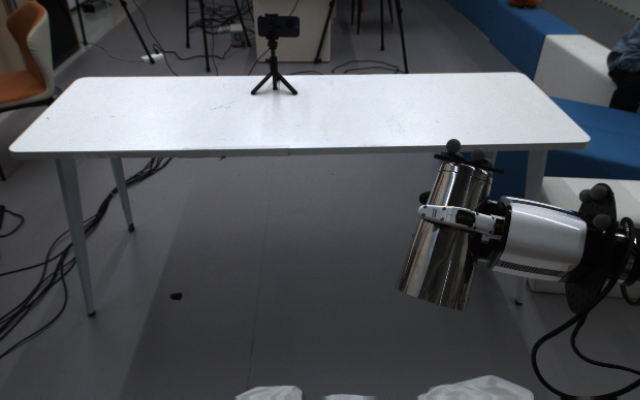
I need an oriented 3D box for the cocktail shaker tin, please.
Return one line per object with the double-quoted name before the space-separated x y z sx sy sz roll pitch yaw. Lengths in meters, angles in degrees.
"cocktail shaker tin" 0.166 0.043 0.614 0.093 0.170 0.093 16 -2 1
